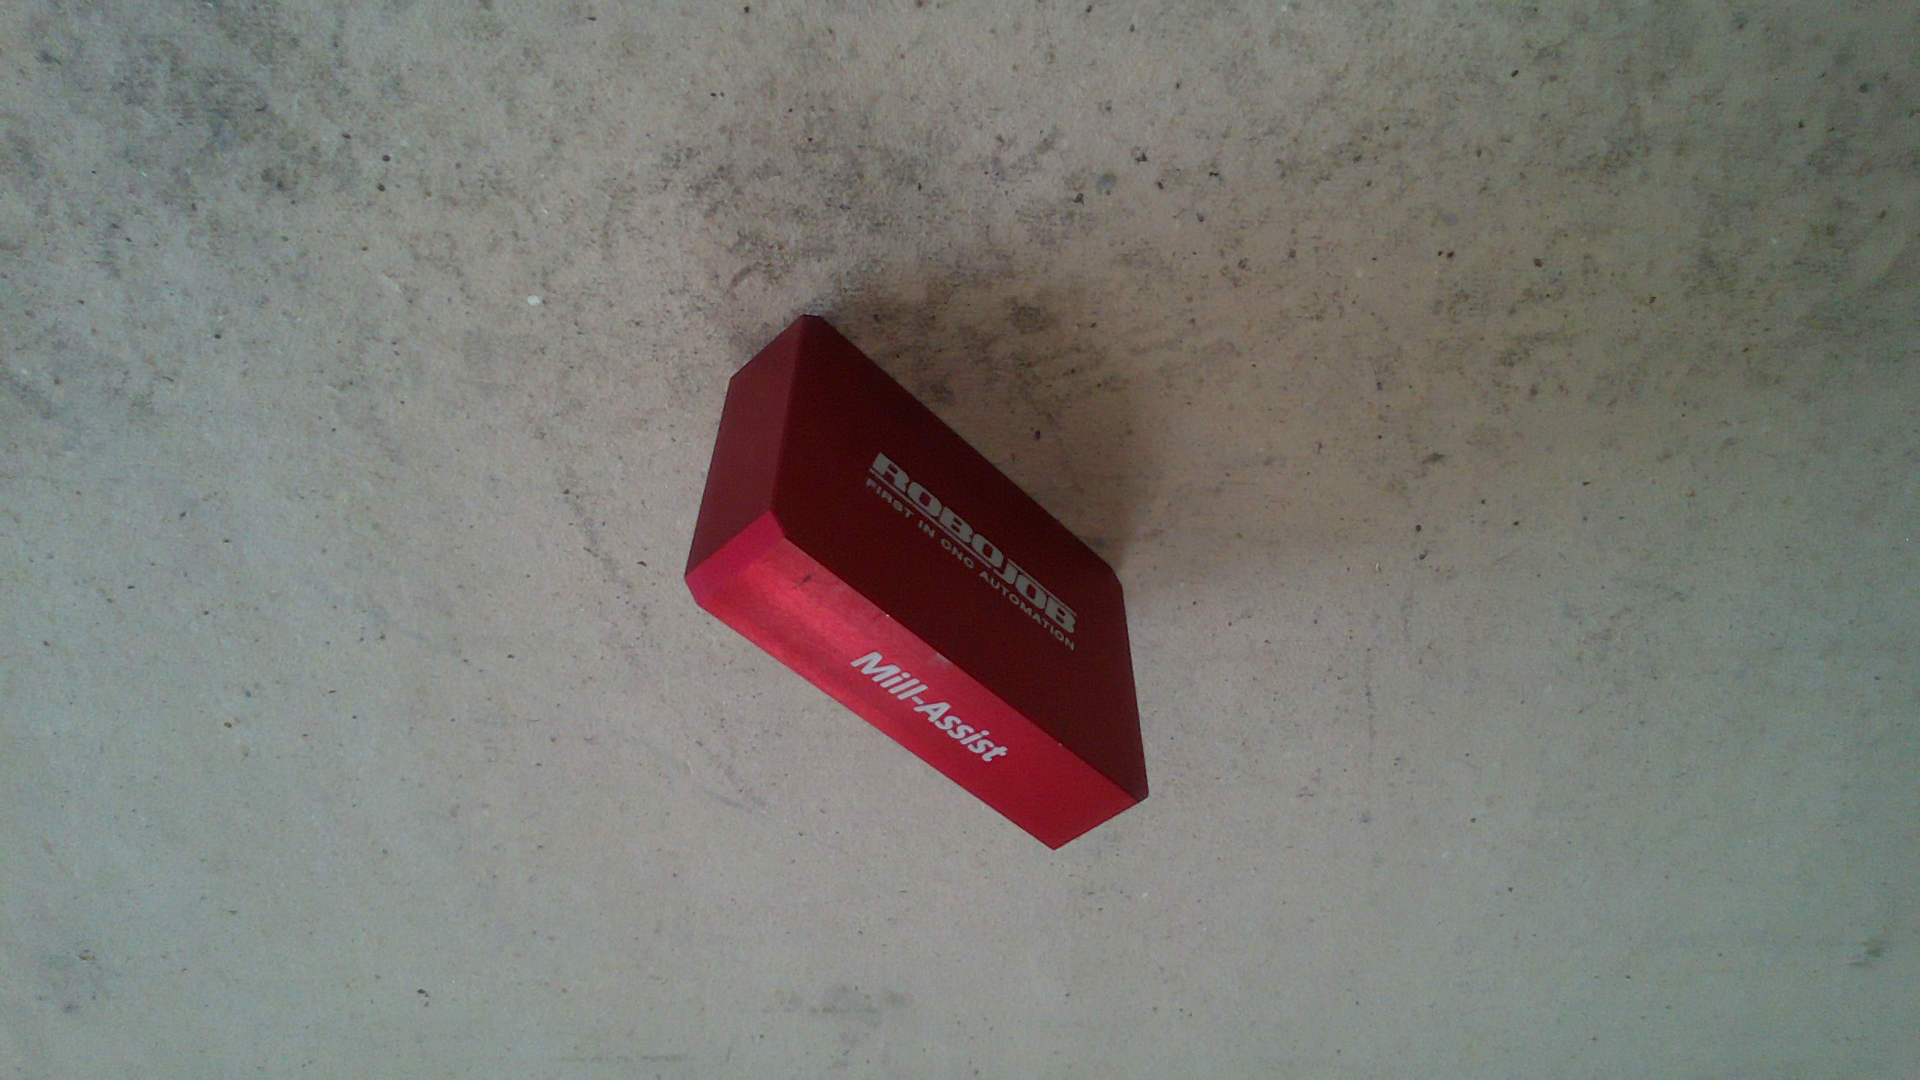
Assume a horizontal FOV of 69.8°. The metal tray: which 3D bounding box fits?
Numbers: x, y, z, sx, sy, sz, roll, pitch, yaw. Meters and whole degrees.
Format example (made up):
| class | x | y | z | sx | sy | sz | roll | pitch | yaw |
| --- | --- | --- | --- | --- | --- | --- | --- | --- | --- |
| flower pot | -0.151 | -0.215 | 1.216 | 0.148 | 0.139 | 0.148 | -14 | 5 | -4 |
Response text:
| class | x | y | z | sx | sy | sz | roll | pitch | yaw |
| --- | --- | --- | --- | --- | --- | --- | --- | --- | --- |
| metal tray | -0.007 | 0.011 | 0.357 | 0.030 | 0.090 | 0.130 | -36 | 122 | 26 |
